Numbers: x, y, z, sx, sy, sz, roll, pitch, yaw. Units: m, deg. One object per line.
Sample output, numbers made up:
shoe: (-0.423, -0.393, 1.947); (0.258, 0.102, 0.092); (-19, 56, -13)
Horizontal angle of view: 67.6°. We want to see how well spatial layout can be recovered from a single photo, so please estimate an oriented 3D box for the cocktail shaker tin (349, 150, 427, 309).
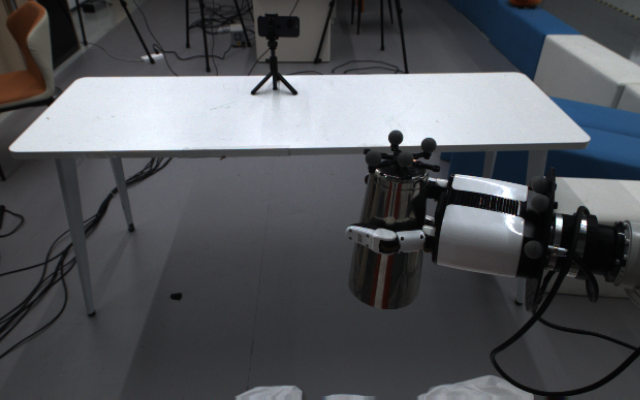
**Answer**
cocktail shaker tin: (0.089, 0.036, 0.586); (0.093, 0.170, 0.093); (2, 30, -1)
